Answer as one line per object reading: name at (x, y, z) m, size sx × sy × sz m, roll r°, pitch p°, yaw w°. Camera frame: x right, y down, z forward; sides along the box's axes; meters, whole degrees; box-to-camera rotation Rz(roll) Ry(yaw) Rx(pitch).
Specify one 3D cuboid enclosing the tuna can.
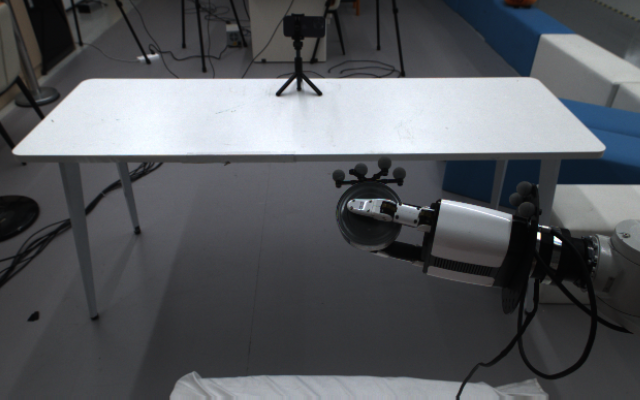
tuna can at (0.065, 0.018, 0.618) m, size 0.085 × 0.034 × 0.085 m, roll -3°, pitch 66°, yaw 7°
